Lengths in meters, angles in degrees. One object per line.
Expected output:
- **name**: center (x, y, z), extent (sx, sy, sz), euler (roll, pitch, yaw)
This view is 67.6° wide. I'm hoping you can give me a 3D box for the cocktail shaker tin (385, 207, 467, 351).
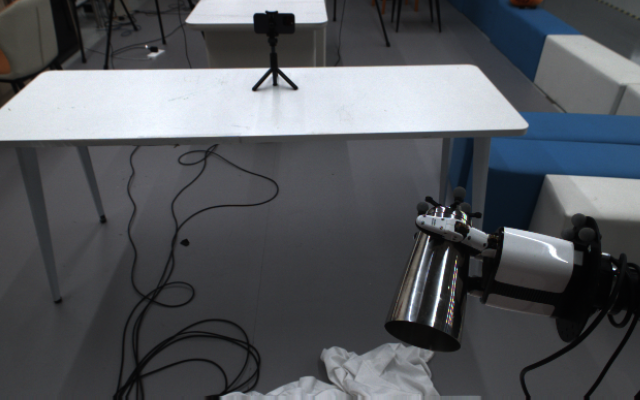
- **cocktail shaker tin**: center (0.148, 0.091, 0.624), extent (0.093, 0.093, 0.170), euler (13, 59, 16)
